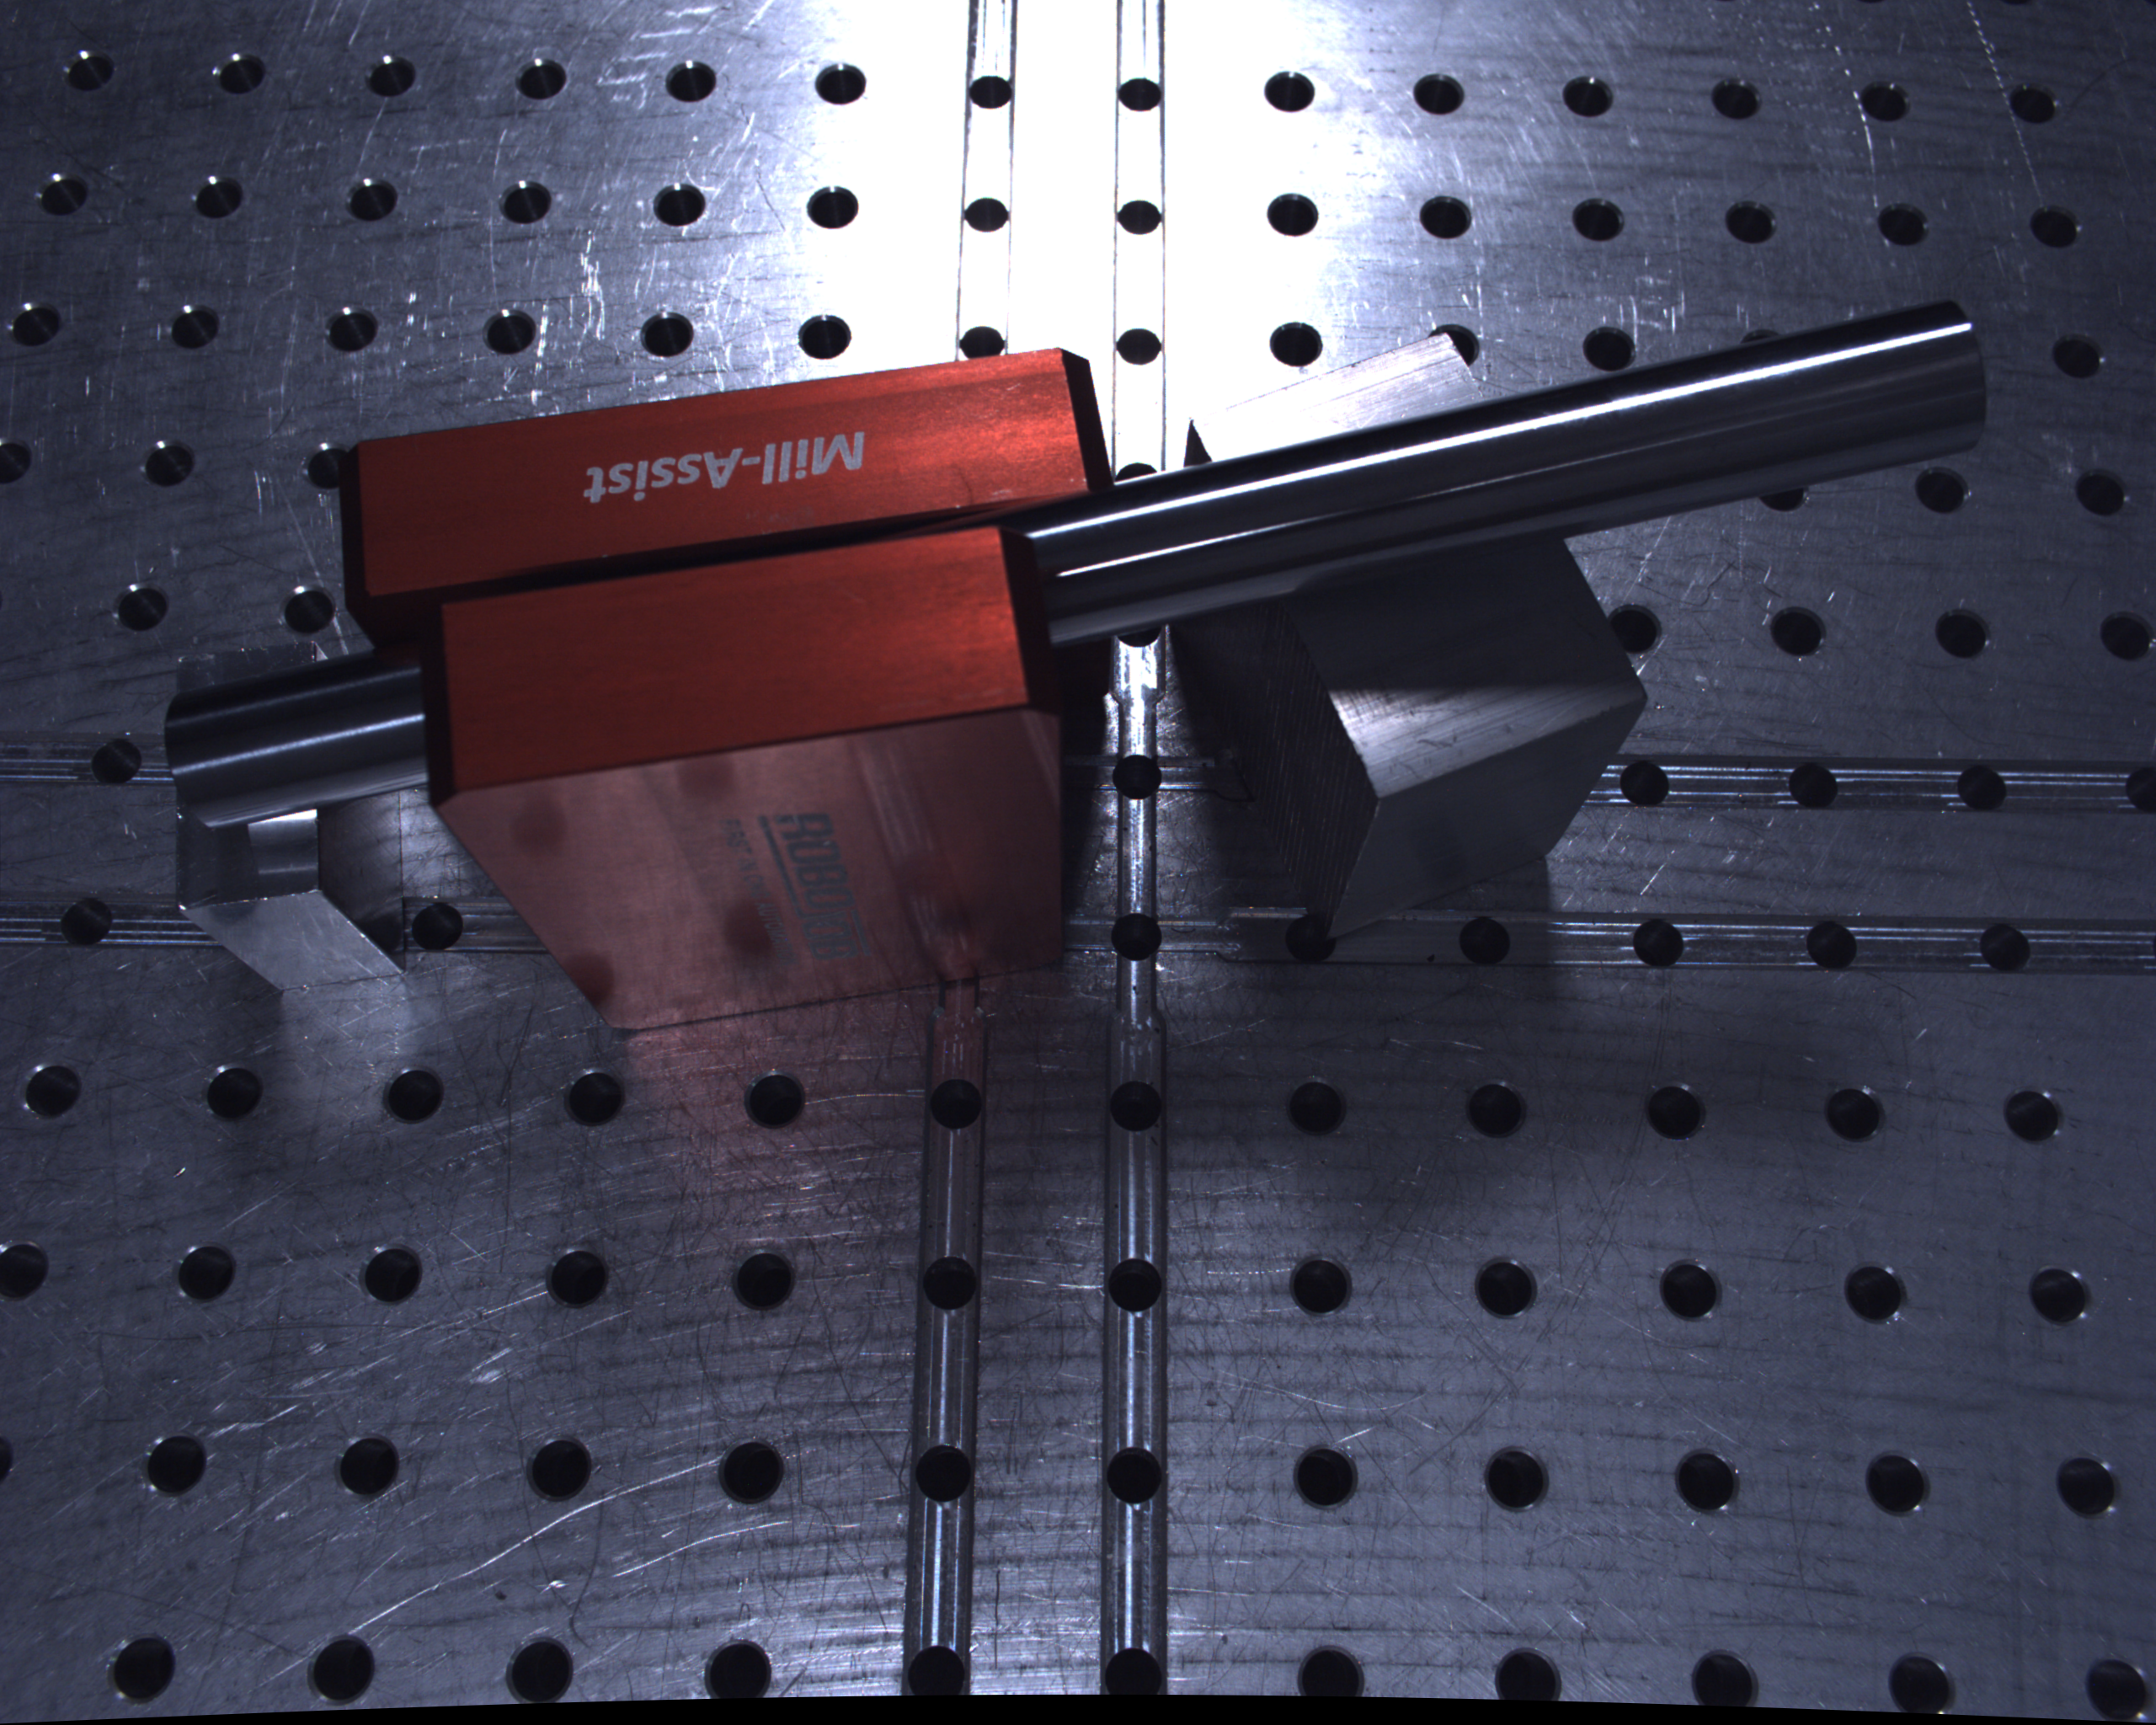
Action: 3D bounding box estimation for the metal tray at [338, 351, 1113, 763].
[{"bbox_3d":[-0.060,-0.052,0.395,0.131,0.090,0.030,-8,72,-4],"label":"metal tray"}]

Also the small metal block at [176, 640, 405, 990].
[{"bbox_3d":[-0.150,-0.008,0.399,0.025,0.050,0.050,-8,70,-3],"label":"small metal block"}]

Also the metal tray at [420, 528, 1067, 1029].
[{"bbox_3d":[-0.049,-0.008,0.358,0.091,0.130,0.030,-9,71,-4],"label":"metal tray"}]

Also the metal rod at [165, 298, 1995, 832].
[{"bbox_3d":[-0.004,-0.048,0.349,0.302,0.025,0.025,-12,70,5],"label":"metal rod"}]

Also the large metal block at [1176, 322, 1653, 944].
[{"bbox_3d":[0.058,-0.040,0.397,0.050,0.080,0.080,-21,72,-8],"label":"large metal block"}]
